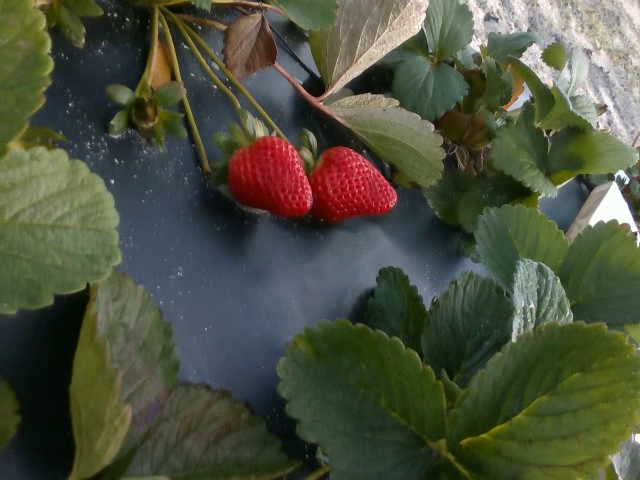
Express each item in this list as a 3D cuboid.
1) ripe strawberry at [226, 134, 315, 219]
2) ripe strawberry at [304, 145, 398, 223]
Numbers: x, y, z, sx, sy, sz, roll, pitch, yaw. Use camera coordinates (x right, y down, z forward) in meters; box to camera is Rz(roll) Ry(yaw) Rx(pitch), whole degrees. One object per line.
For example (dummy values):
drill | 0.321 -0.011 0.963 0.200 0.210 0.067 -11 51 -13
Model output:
ripe strawberry | -0.024 -0.033 0.334 0.048 0.056 0.041 -12 -33 -49
ripe strawberry | 0.023 -0.035 0.376 0.064 0.051 0.058 24 45 3
